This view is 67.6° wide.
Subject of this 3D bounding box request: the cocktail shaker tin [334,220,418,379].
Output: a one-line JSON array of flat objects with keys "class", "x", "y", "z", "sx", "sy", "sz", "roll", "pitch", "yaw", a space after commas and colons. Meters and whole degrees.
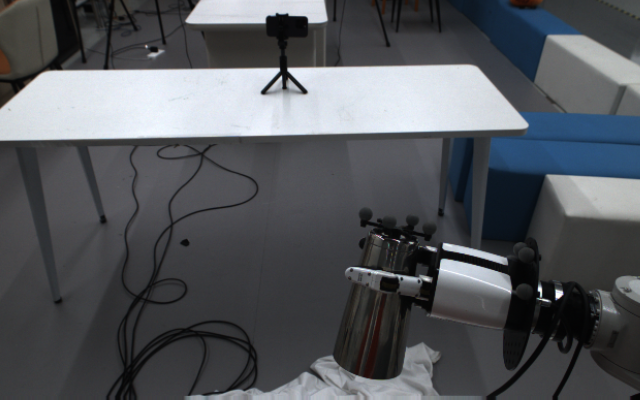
[{"class": "cocktail shaker tin", "x": 0.081, "y": 0.124, "z": 0.620, "sx": 0.093, "sy": 0.170, "sz": 0.093, "roll": 10, "pitch": 10, "yaw": -2}]
